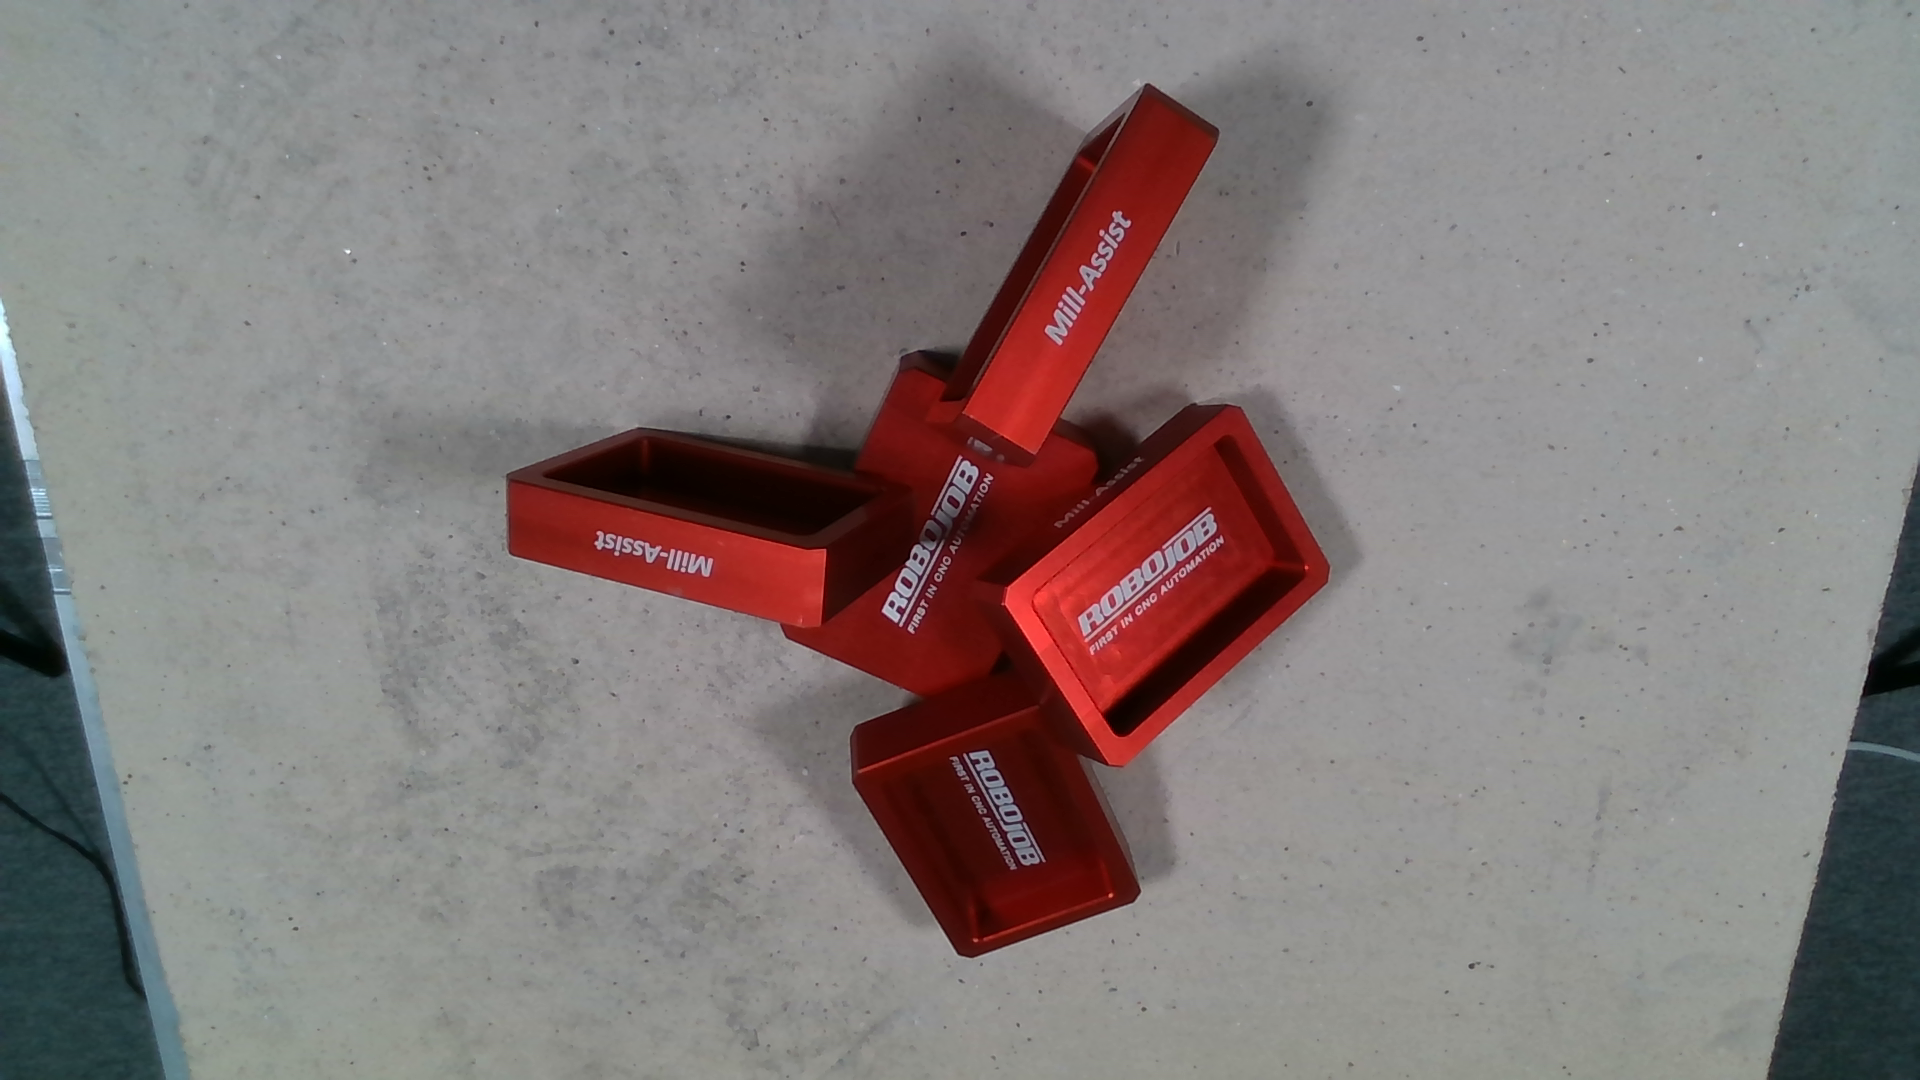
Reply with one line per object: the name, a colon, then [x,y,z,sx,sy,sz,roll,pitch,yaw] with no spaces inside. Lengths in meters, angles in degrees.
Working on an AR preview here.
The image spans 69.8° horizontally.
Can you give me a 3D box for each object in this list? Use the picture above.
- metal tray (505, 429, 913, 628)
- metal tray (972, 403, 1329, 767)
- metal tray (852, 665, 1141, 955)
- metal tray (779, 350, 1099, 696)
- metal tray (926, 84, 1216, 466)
metal tray: [-0.094,-0.008,0.527,0.130,0.090,0.030,12,110,17]
metal tray: [0.079,0.016,0.557,0.130,0.030,0.090,-39,108,-17]
metal tray: [0.017,0.121,0.610,0.090,0.030,0.130,-21,124,7]
metal tray: [-0.010,-0.003,0.581,0.090,0.030,0.130,24,108,-9]
metal tray: [0.035,-0.092,0.500,0.030,0.090,0.130,30,91,-10]
